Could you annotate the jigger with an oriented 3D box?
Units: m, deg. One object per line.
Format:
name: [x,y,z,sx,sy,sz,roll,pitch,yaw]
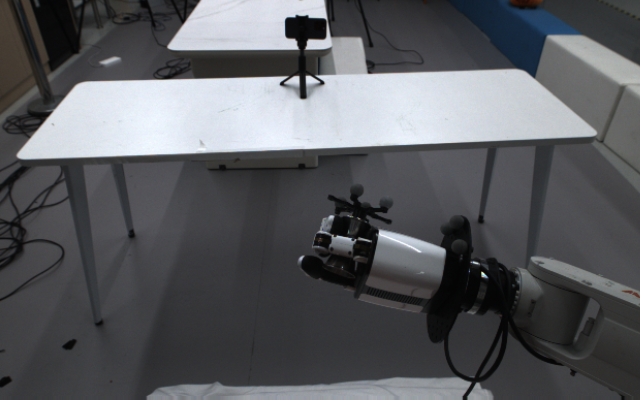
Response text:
jigger: [0.036,0.057,0.602,0.043,0.043,0.071,15,70,18]
